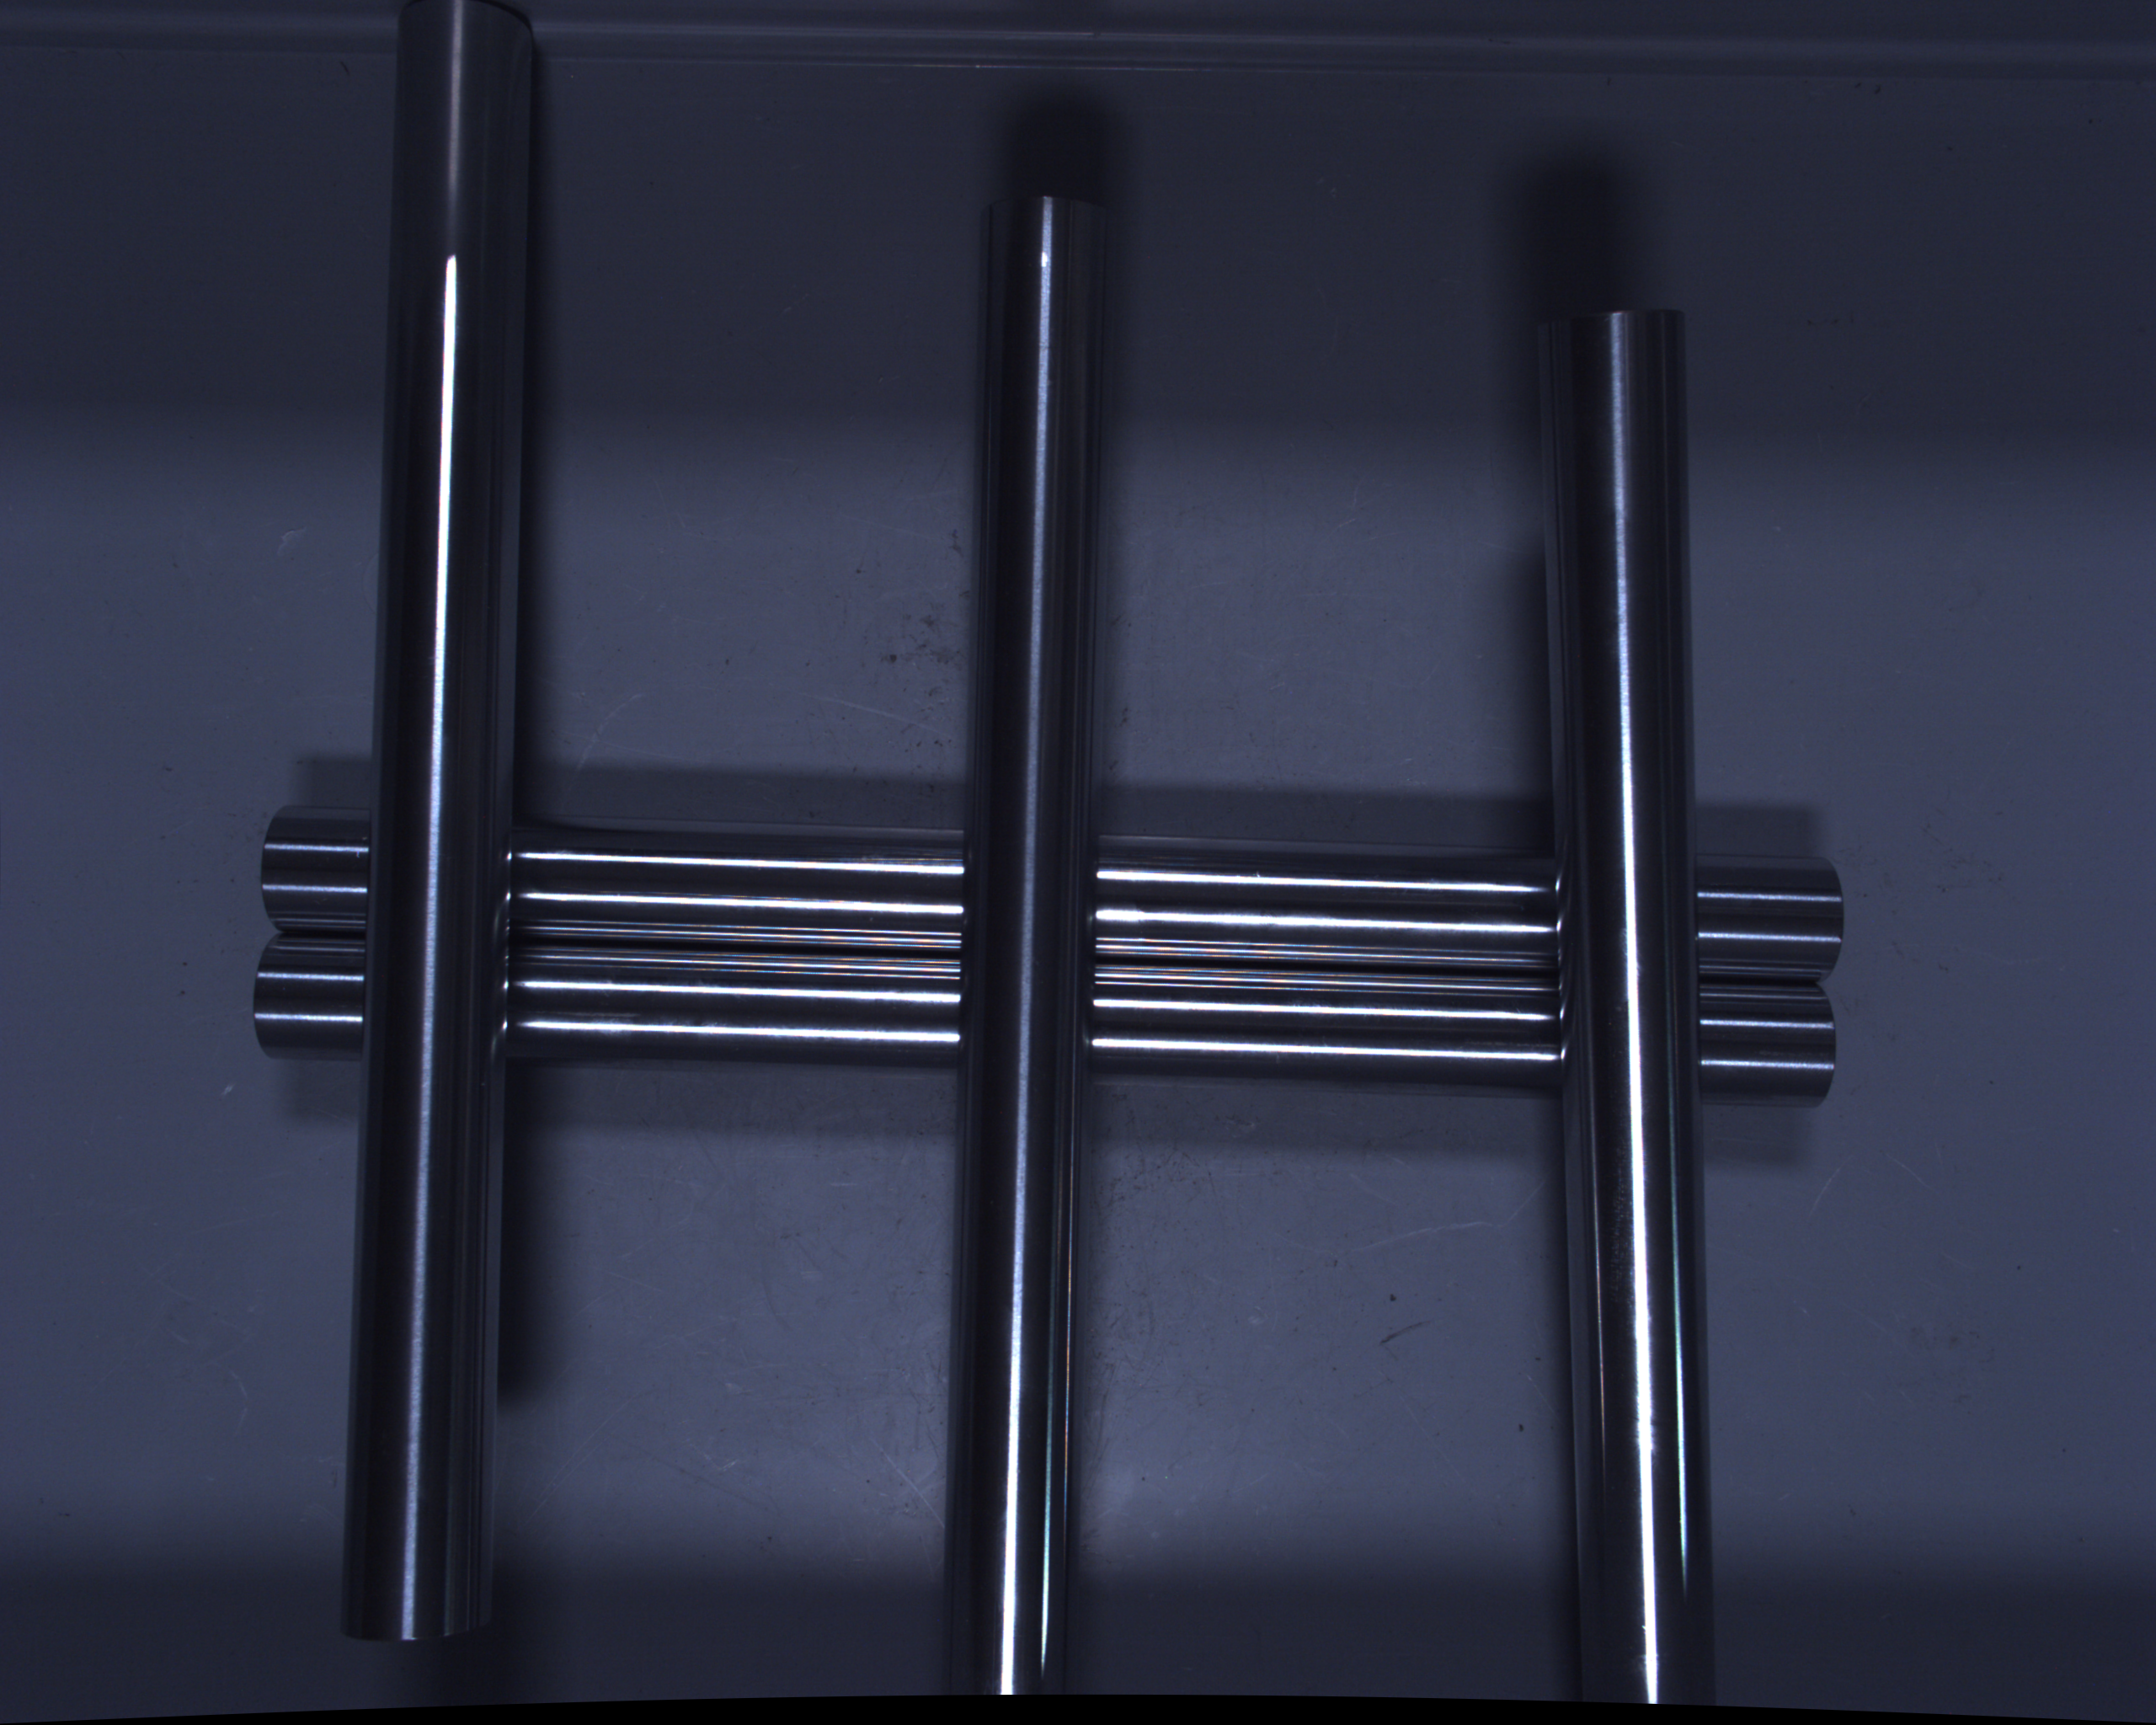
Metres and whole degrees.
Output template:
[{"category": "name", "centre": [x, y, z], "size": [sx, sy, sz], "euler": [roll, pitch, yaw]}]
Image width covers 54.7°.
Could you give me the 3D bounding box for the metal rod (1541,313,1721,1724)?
[{"category": "metal rod", "centre": [0.104, 0.052, 0.389], "size": [0.025, 0.025, 0.298], "euler": [-4, 98, 0]}]

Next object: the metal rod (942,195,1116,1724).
[{"category": "metal rod", "centre": [-0.009, 0.030, 0.385], "size": [0.025, 0.025, 0.298], "euler": [1, 90, -1]}]

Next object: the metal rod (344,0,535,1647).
[{"category": "metal rod", "centre": [-0.117, -0.014, 0.385], "size": [0.025, 0.025, 0.298], "euler": [-1, 82, -1]}]

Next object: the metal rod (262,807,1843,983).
[{"category": "metal rod", "centre": [-0.004, 0.007, 0.410], "size": [0.302, 0.025, 0.025], "euler": [2, 90, -1]}]

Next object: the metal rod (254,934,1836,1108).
[{"category": "metal rod", "centre": [-0.006, 0.031, 0.410], "size": [0.302, 0.025, 0.025], "euler": [2, 90, -1]}]
